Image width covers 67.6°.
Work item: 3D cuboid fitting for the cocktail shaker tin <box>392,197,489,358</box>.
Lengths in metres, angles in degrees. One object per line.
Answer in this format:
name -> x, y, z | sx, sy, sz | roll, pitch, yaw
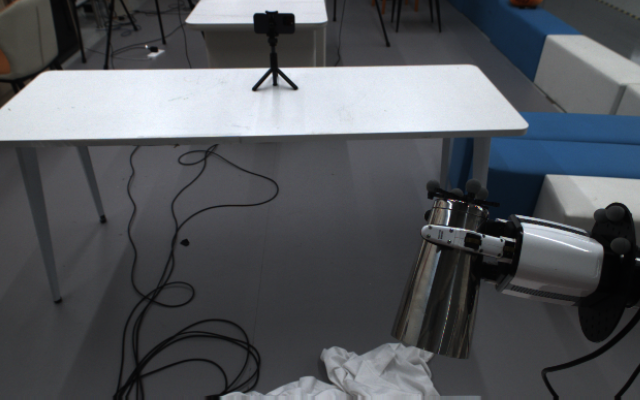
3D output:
cocktail shaker tin -> 0.152, 0.086, 0.579 | 0.093, 0.170, 0.093 | 14, -5, 1
